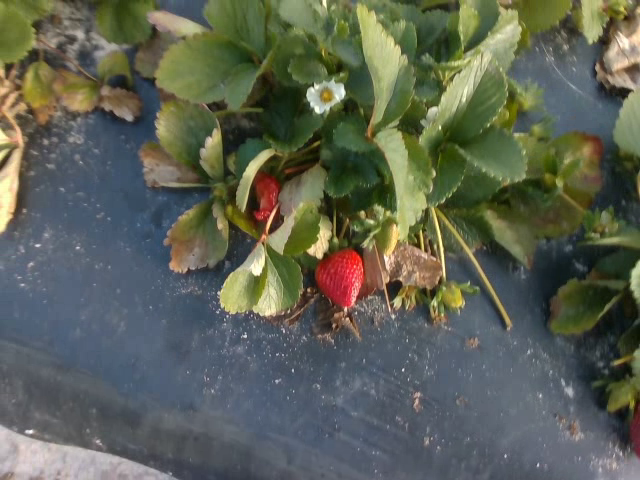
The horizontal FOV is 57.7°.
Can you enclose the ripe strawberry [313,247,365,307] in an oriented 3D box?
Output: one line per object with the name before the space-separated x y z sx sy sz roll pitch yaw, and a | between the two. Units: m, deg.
ripe strawberry | 0.010 0.022 0.294 0.031 0.030 0.026 -15 -24 0
